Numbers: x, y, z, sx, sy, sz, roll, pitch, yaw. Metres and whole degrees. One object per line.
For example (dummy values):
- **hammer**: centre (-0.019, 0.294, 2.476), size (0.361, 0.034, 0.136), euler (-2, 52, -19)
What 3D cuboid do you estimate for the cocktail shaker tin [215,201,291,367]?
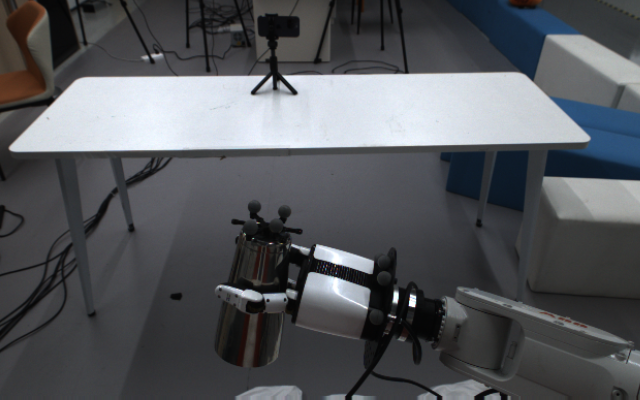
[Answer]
- **cocktail shaker tin**: centre (-0.082, 0.120, 0.635), size (0.093, 0.170, 0.093), euler (10, 19, -4)
